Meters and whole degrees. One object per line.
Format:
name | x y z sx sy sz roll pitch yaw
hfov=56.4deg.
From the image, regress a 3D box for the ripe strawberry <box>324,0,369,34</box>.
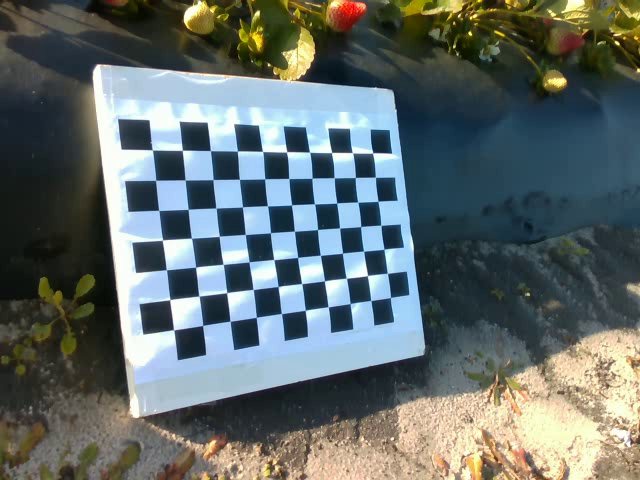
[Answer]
ripe strawberry | 0.024 -0.207 0.547 0.045 0.037 0.042 -18 8 31
